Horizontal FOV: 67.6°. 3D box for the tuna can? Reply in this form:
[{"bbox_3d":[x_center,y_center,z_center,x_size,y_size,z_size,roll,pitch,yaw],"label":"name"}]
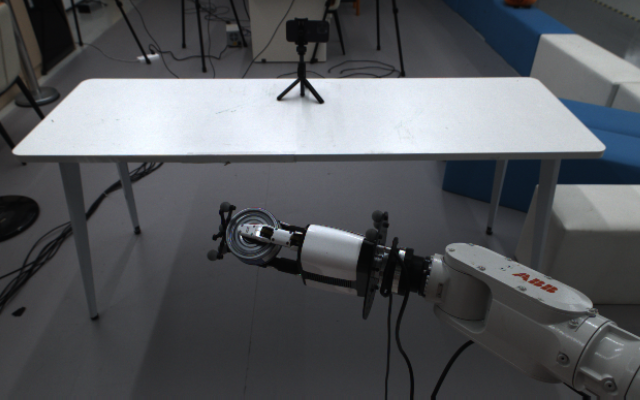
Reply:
[{"bbox_3d":[-0.099,0.055,0.747,0.085,0.034,0.085,-2,69,6],"label":"tuna can"}]
